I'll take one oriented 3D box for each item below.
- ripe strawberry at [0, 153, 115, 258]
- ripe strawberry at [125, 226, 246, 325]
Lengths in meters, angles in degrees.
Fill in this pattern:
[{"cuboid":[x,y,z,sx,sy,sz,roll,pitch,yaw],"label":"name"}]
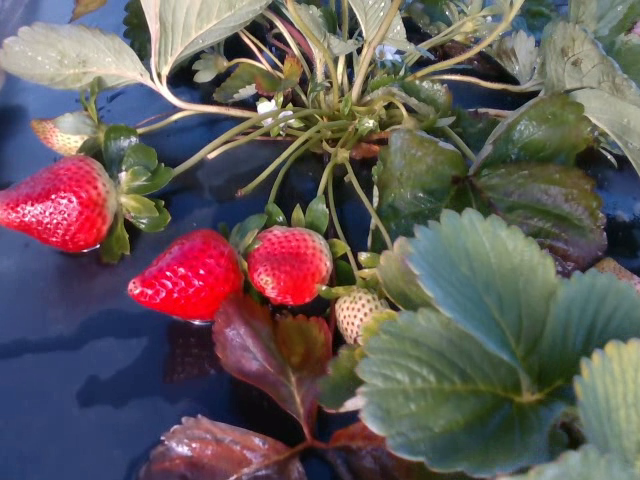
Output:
[{"cuboid":[-0.129,-0.020,0.285,0.065,0.050,0.050,-2,13,-36],"label":"ripe strawberry"},{"cuboid":[-0.059,0.017,0.251,0.045,0.042,0.055,-10,0,40],"label":"ripe strawberry"}]
